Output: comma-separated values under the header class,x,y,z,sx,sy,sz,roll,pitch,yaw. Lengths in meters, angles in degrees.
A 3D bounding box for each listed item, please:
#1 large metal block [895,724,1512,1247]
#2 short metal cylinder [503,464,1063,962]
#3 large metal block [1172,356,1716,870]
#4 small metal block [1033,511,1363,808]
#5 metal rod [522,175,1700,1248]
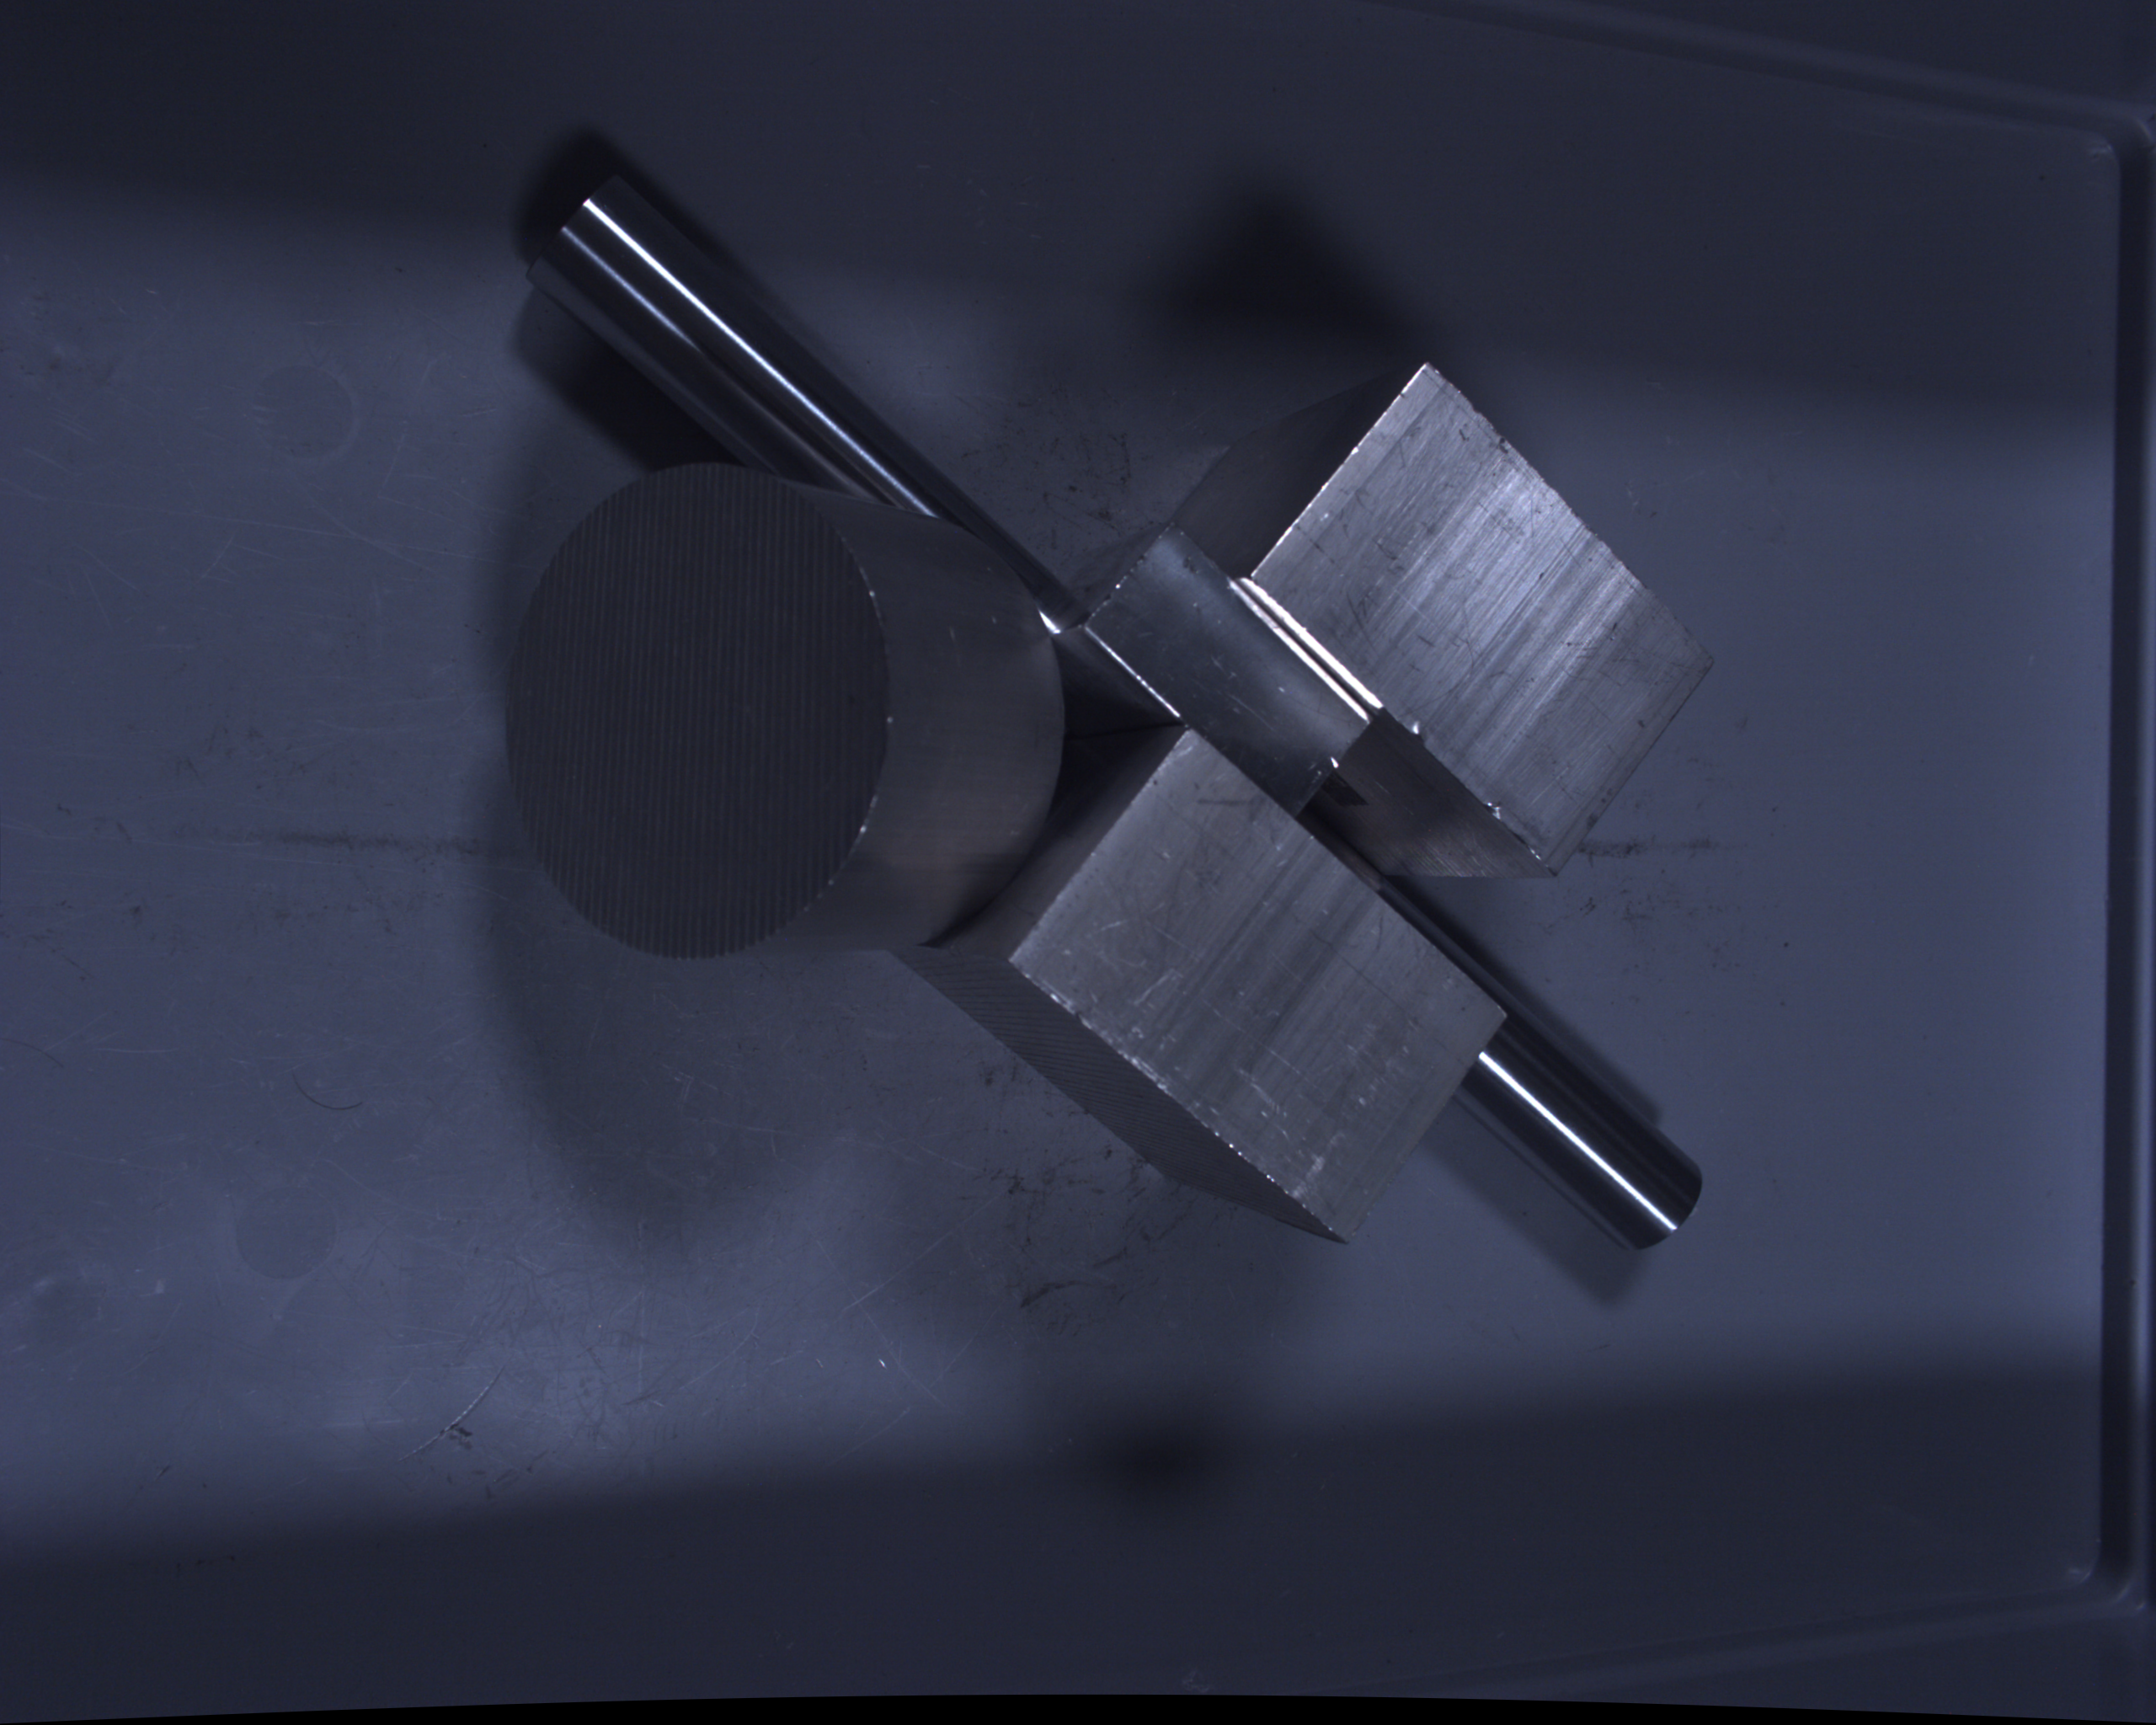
class,x,y,z,sx,sy,sz,roll,pitch,yaw
large metal block,0.018,0.021,0.388,0.080,0.080,0.050,41,77,-16
short metal cylinder,-0.050,-0.024,0.356,0.050,0.080,0.079,1,90,-60
large metal block,0.059,-0.044,0.404,0.080,0.080,0.050,42,77,-16
small metal block,0.016,-0.034,0.378,0.050,0.050,0.025,43,77,-16
metal rod,0.017,-0.020,0.417,0.300,0.025,0.025,41,77,-16
